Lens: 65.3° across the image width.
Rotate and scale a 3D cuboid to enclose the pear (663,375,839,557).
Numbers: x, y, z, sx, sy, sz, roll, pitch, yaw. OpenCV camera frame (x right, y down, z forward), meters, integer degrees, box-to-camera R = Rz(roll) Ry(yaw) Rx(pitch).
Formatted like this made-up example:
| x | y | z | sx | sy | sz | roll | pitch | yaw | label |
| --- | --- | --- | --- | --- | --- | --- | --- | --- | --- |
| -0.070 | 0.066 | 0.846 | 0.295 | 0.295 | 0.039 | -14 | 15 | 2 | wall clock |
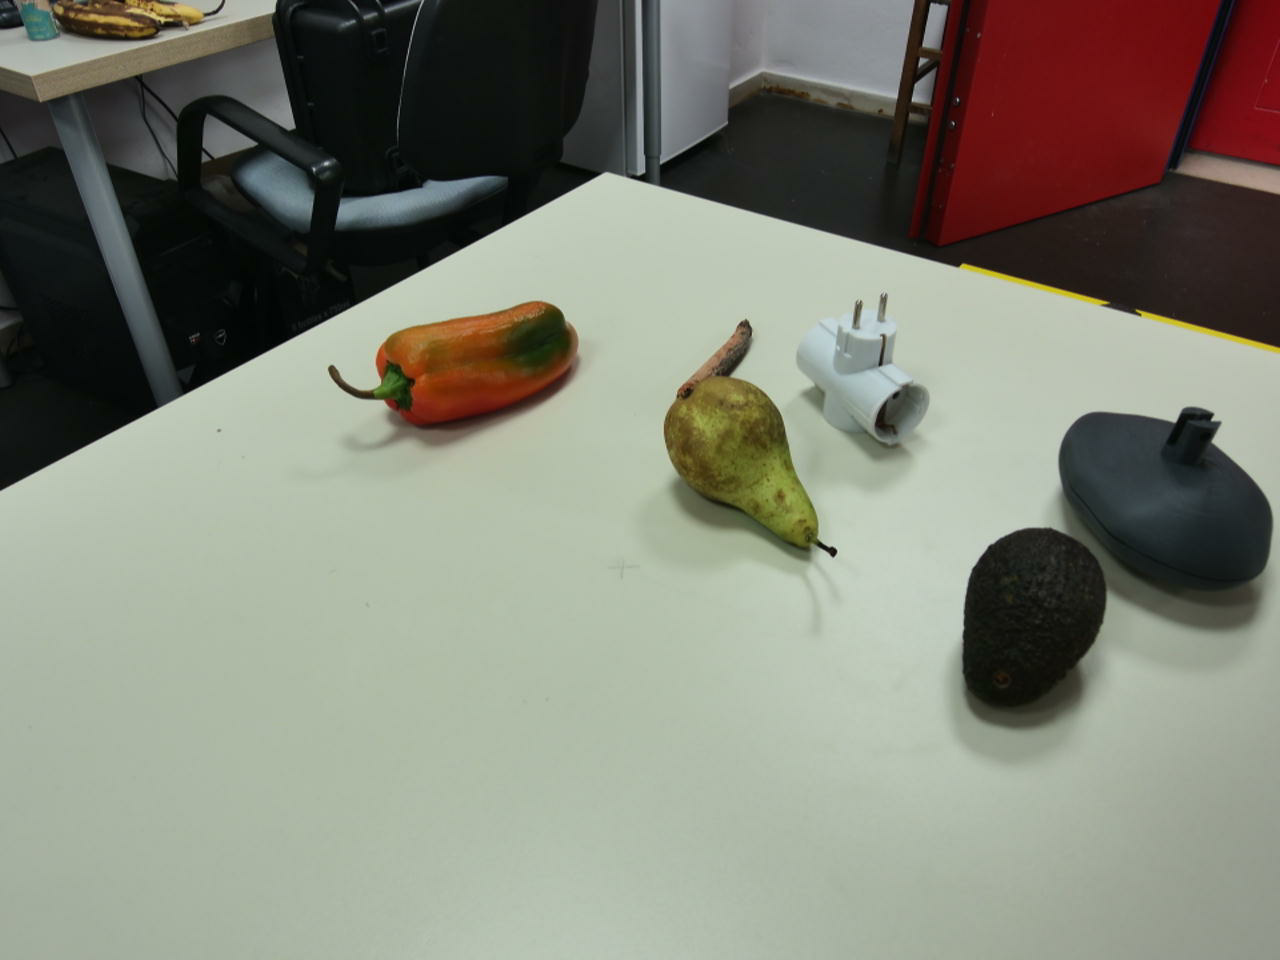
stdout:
| x | y | z | sx | sy | sz | roll | pitch | yaw | label |
| --- | --- | --- | --- | --- | --- | --- | --- | --- | --- |
| 0.076 | -0.010 | 0.585 | 0.144 | 0.075 | 0.071 | 30 | 47 | 34 | pear |
